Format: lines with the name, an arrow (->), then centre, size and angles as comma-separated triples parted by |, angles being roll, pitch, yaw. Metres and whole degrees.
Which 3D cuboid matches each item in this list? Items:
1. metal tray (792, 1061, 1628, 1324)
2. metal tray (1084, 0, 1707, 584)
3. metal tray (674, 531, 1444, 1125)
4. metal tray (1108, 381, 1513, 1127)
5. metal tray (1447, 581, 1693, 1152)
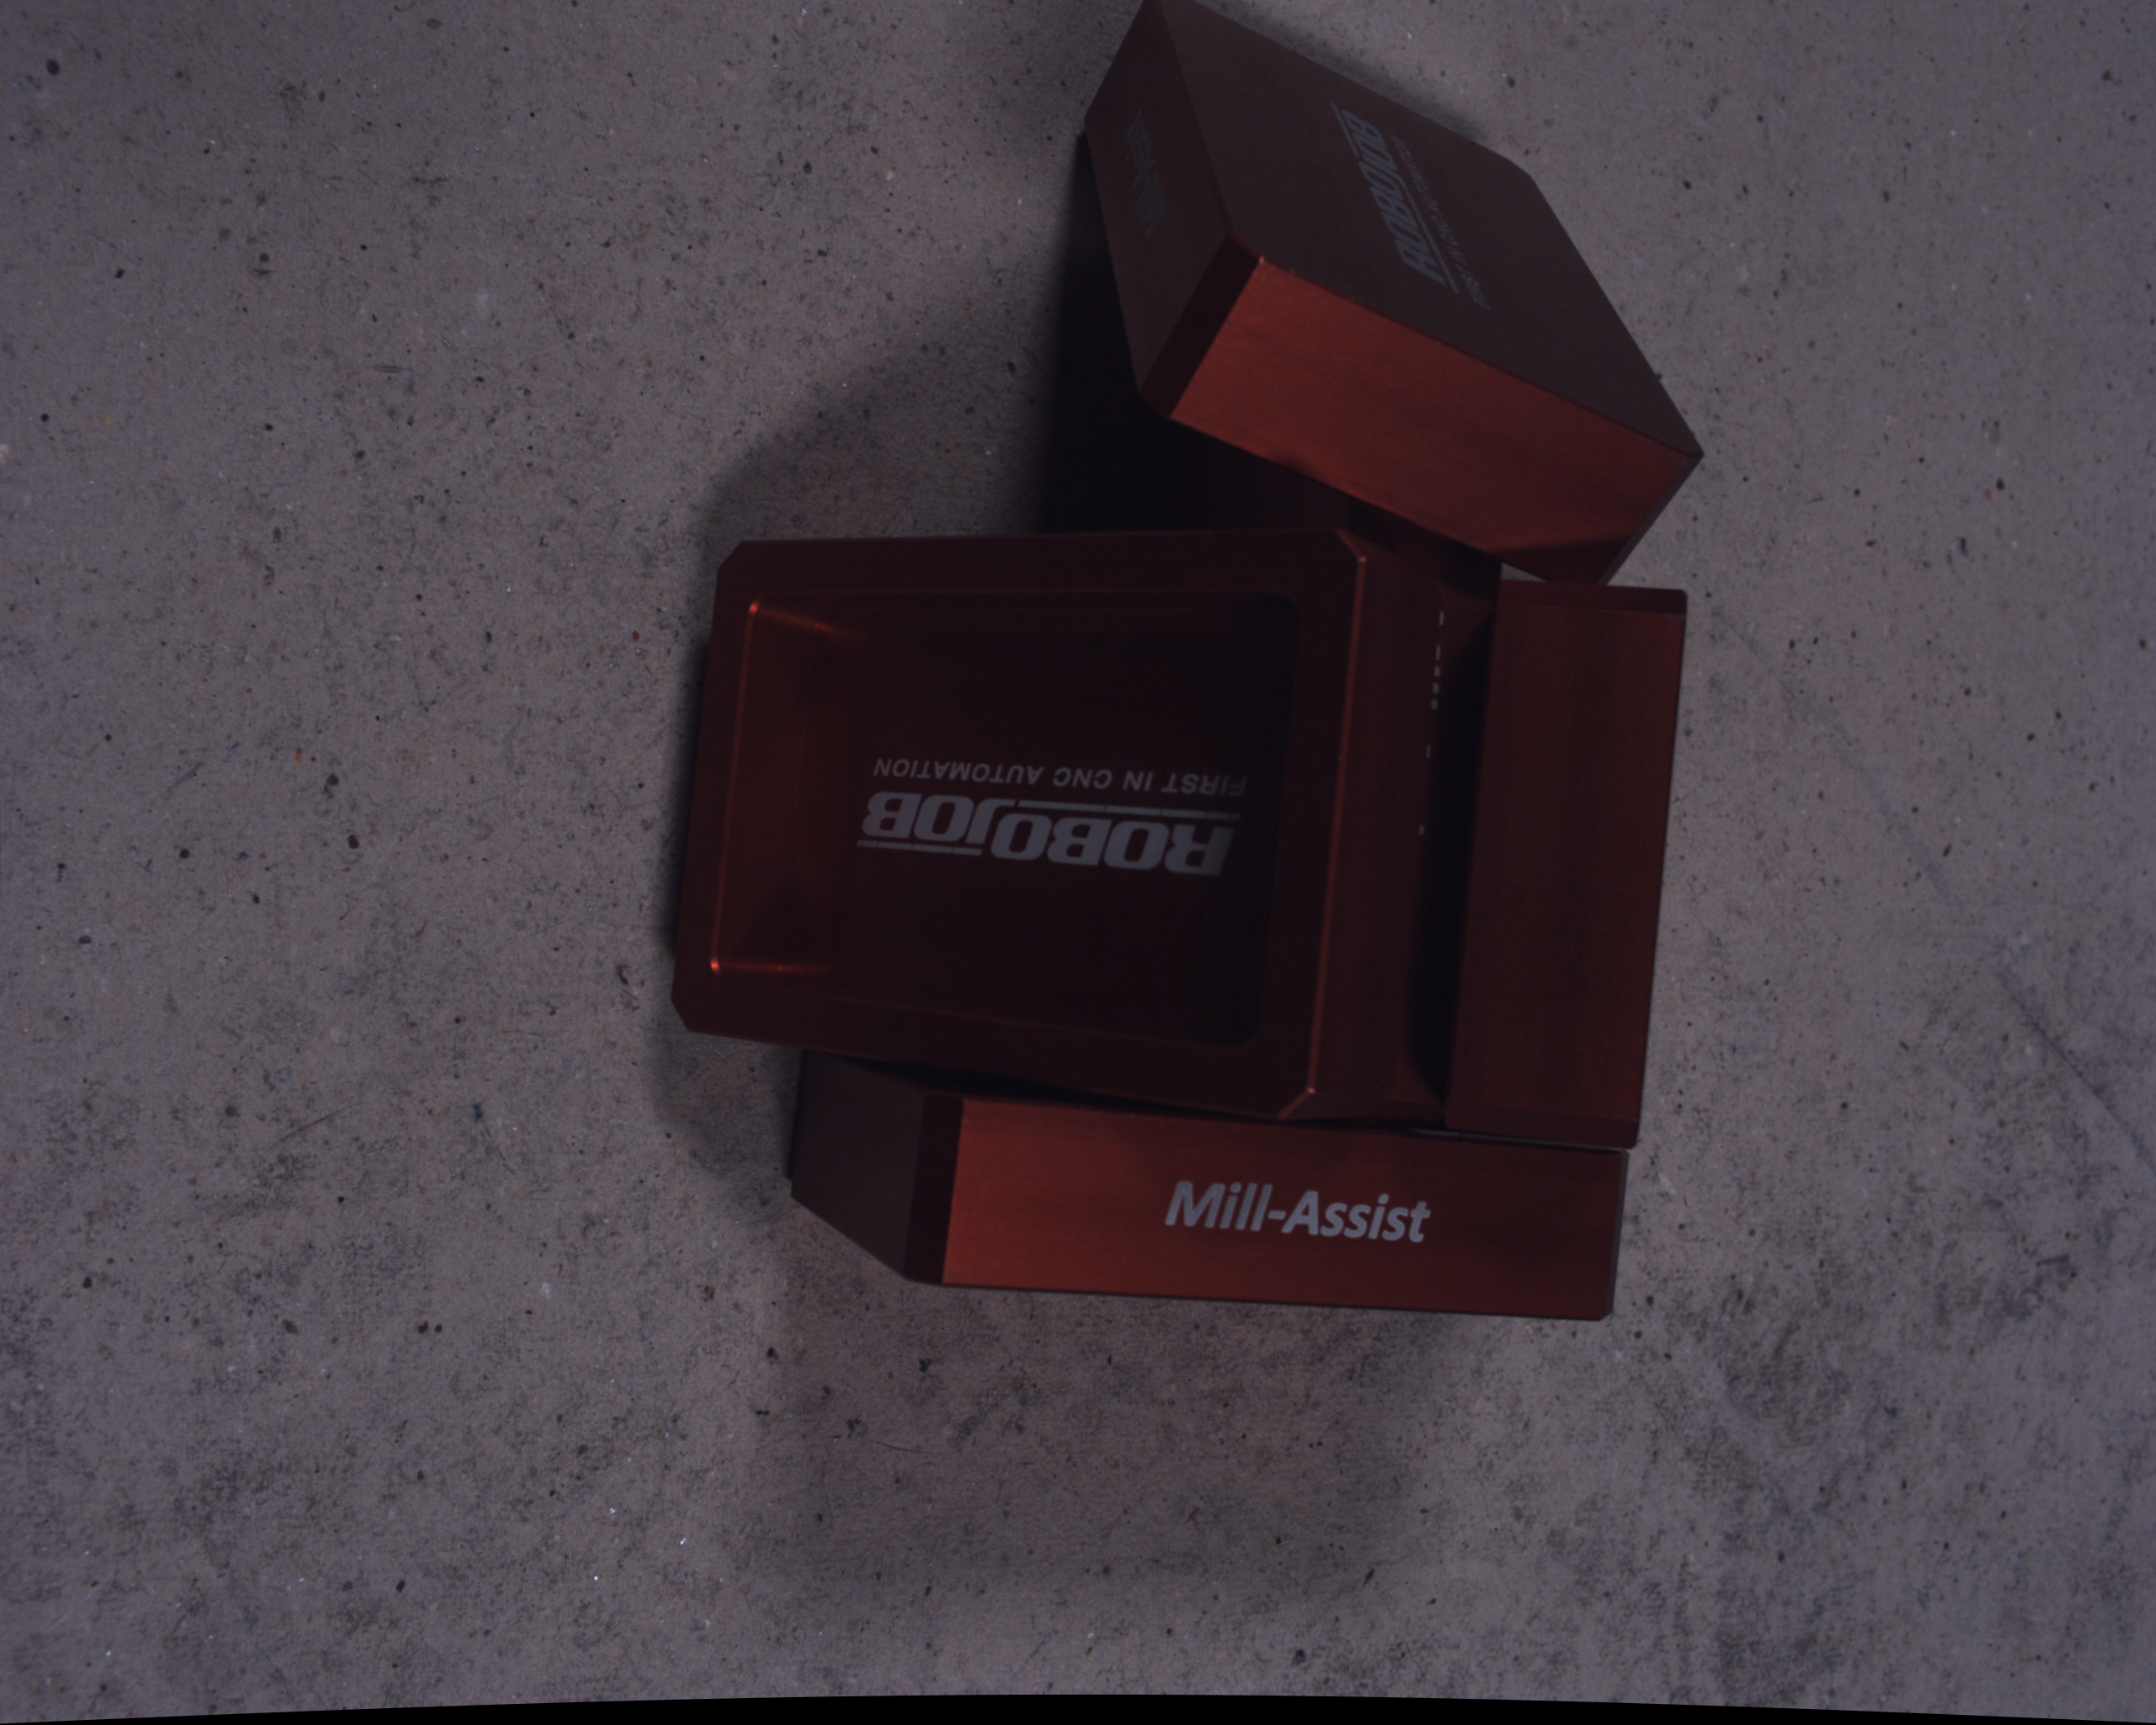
metal tray -> 0.022, 0.058, 0.384 | 0.131, 0.090, 0.030 | 7, 88, -20
metal tray -> 0.052, -0.109, 0.381 | 0.091, 0.130, 0.030 | 19, 125, -20
metal tray -> -0.007, -0.008, 0.357 | 0.030, 0.130, 0.089 | 9, 86, -57
metal tray -> 0.040, -0.021, 0.391 | 0.030, 0.090, 0.129 | 8, 88, -20
metal tray -> 0.092, 0.003, 0.393 | 0.030, 0.130, 0.089 | 6, 88, 13
